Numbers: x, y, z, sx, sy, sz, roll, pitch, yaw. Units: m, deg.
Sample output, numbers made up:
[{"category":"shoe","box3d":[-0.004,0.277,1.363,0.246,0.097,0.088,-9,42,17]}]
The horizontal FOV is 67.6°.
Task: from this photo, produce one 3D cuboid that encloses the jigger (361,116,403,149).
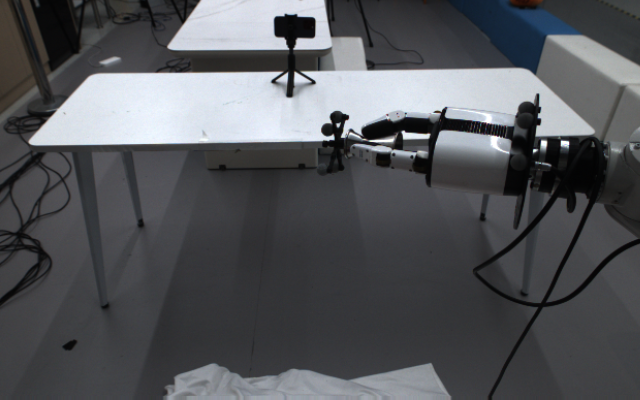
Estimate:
[{"category":"jigger","box3d":[0.075,-0.073,0.630,0.071,0.043,0.043,8,34,23]}]
